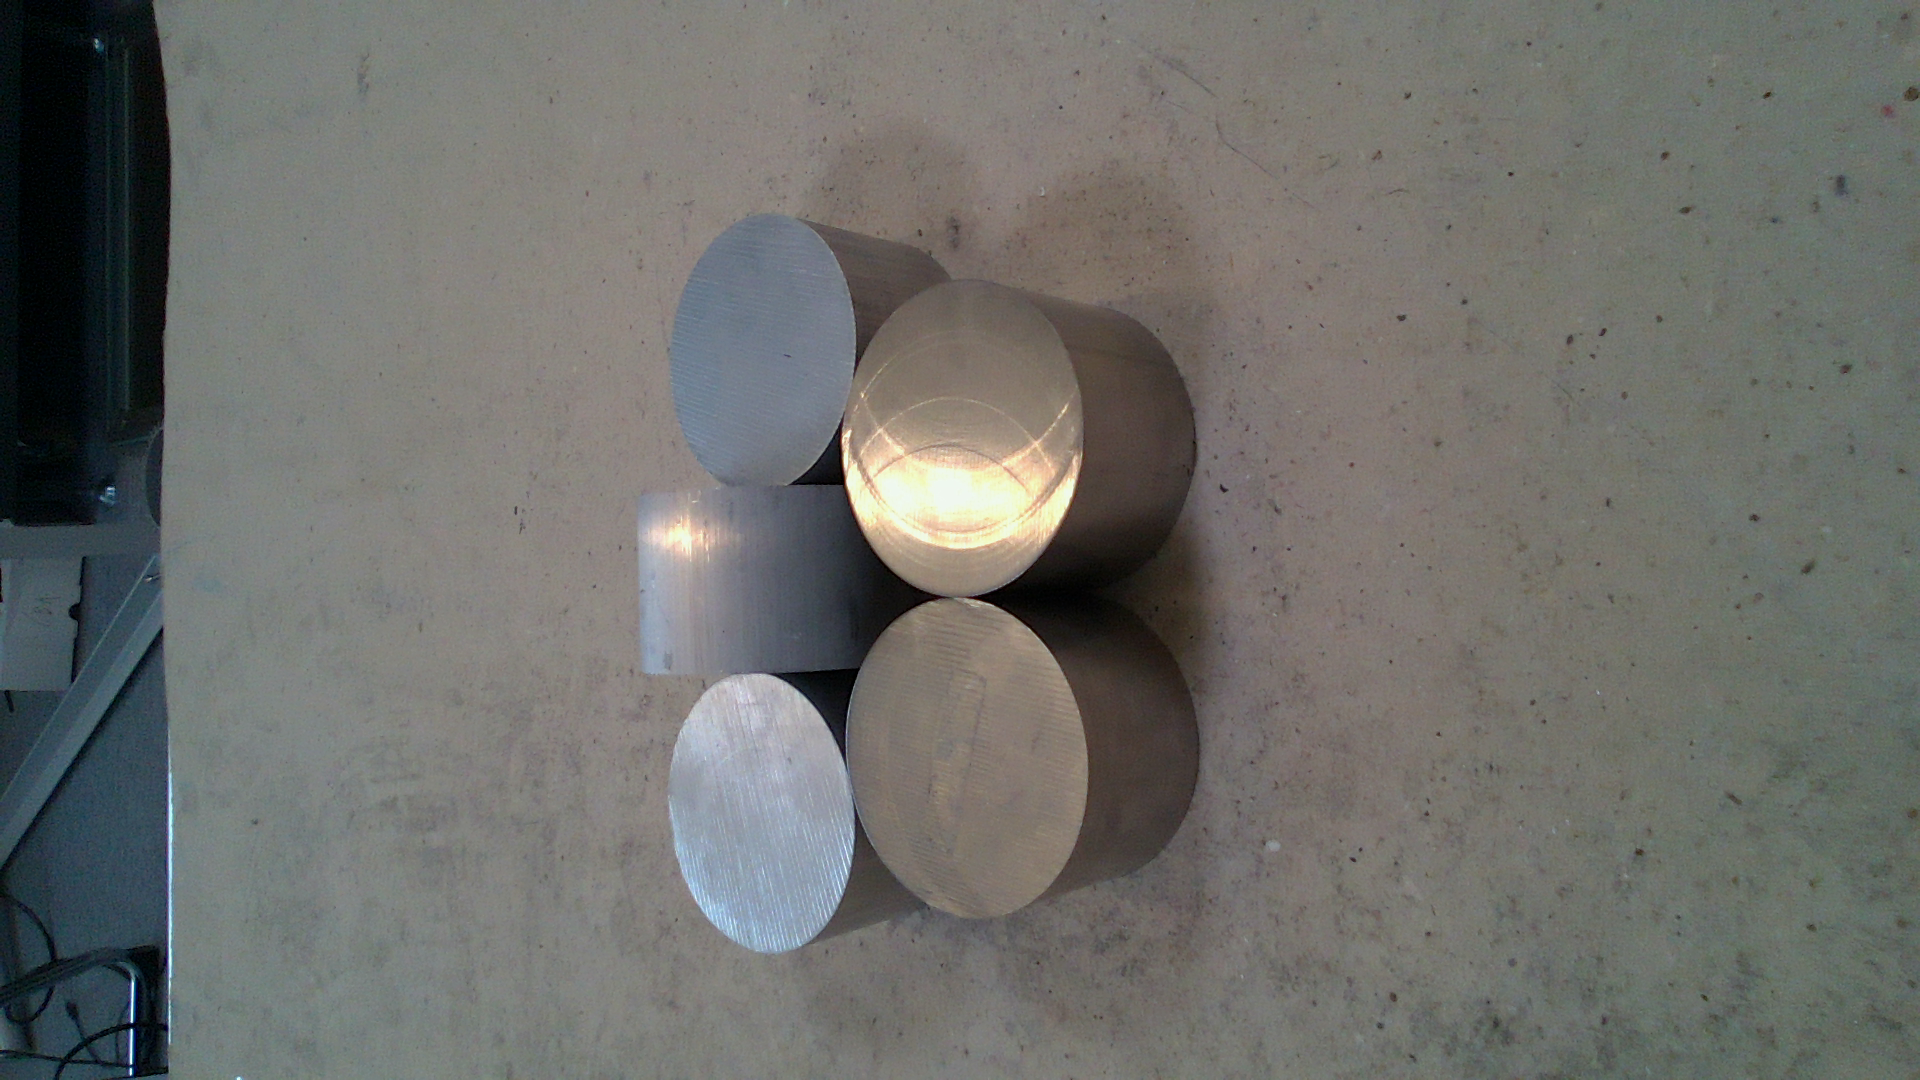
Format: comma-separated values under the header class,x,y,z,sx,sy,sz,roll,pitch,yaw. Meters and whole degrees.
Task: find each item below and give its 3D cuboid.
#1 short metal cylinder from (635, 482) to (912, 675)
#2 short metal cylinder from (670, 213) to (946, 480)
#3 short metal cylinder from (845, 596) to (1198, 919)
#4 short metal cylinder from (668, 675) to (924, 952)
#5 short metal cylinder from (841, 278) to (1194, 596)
class,x,y,z,sx,sy,sz,roll,pitch,yaw
short metal cylinder,-0.054,0.011,0.405,0.080,0.080,0.050,-4,88,40
short metal cylinder,-0.042,-0.054,0.414,0.080,0.050,0.080,0,91,41
short metal cylinder,0.015,0.055,0.365,0.080,0.050,0.080,1,91,41
short metal cylinder,-0.043,0.078,0.415,0.080,0.050,0.080,0,91,41
short metal cylinder,0.014,-0.026,0.366,0.080,0.050,0.080,1,91,40
